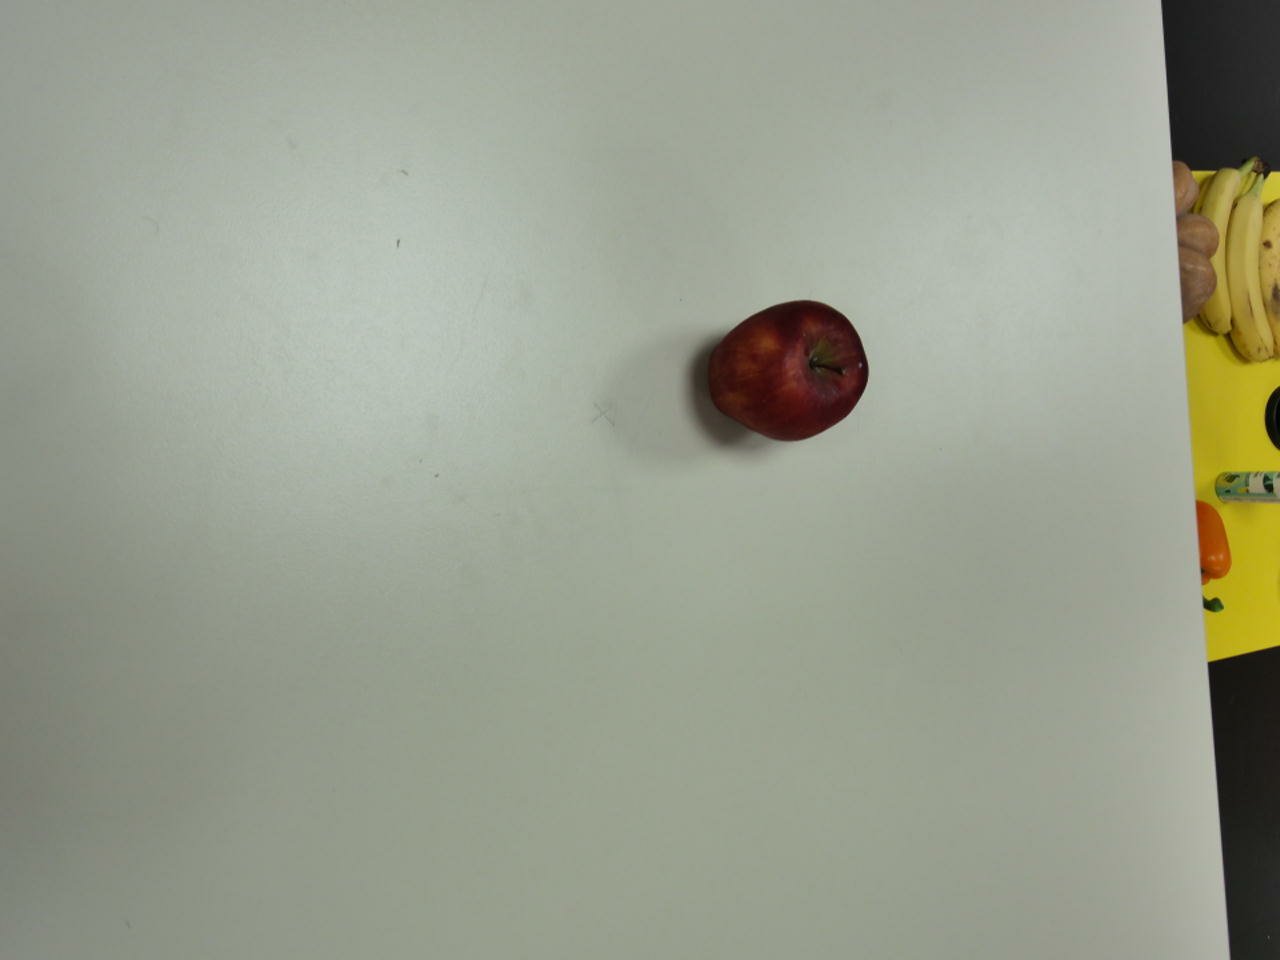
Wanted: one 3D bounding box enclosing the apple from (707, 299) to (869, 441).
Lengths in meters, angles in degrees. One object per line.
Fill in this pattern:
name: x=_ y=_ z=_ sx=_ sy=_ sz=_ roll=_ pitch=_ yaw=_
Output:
apple: x=0.084 y=-0.060 z=0.553 sx=0.083 sy=0.090 sz=0.083 roll=0 pitch=90 yaw=-22
